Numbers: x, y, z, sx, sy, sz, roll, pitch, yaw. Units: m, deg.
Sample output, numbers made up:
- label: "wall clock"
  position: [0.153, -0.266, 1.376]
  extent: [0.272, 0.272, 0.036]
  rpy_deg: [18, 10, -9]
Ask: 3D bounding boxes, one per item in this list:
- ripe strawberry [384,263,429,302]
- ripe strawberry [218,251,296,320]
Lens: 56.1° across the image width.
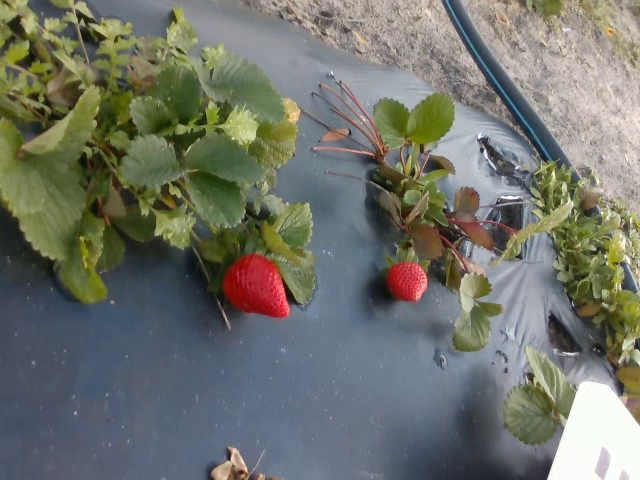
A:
- label: "ripe strawberry"
  position: [0.072, 0.039, 0.478]
  extent: [0.041, 0.045, 0.052]
  rpy_deg: [-15, 27, 4]
- label: "ripe strawberry"
  position: [-0.037, 0.034, 0.365]
  extent: [0.050, 0.046, 0.051]
  rpy_deg: [33, -14, 49]
